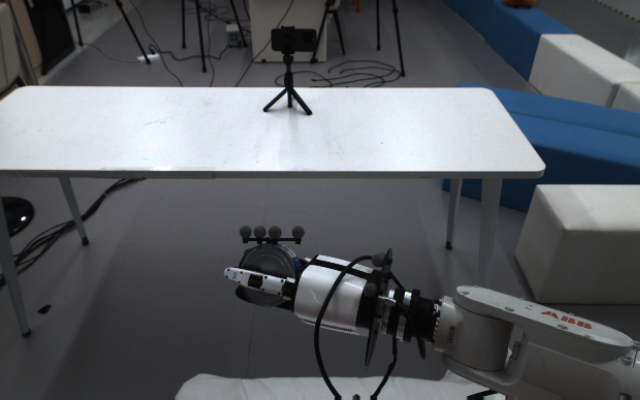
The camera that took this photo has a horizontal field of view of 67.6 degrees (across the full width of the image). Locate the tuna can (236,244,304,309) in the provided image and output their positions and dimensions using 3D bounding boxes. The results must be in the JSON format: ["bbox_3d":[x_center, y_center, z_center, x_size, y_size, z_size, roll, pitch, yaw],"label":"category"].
[{"bbox_3d":[-0.067,0.103,0.672,0.085,0.085,0.034,15,1,18],"label":"tuna can"}]
